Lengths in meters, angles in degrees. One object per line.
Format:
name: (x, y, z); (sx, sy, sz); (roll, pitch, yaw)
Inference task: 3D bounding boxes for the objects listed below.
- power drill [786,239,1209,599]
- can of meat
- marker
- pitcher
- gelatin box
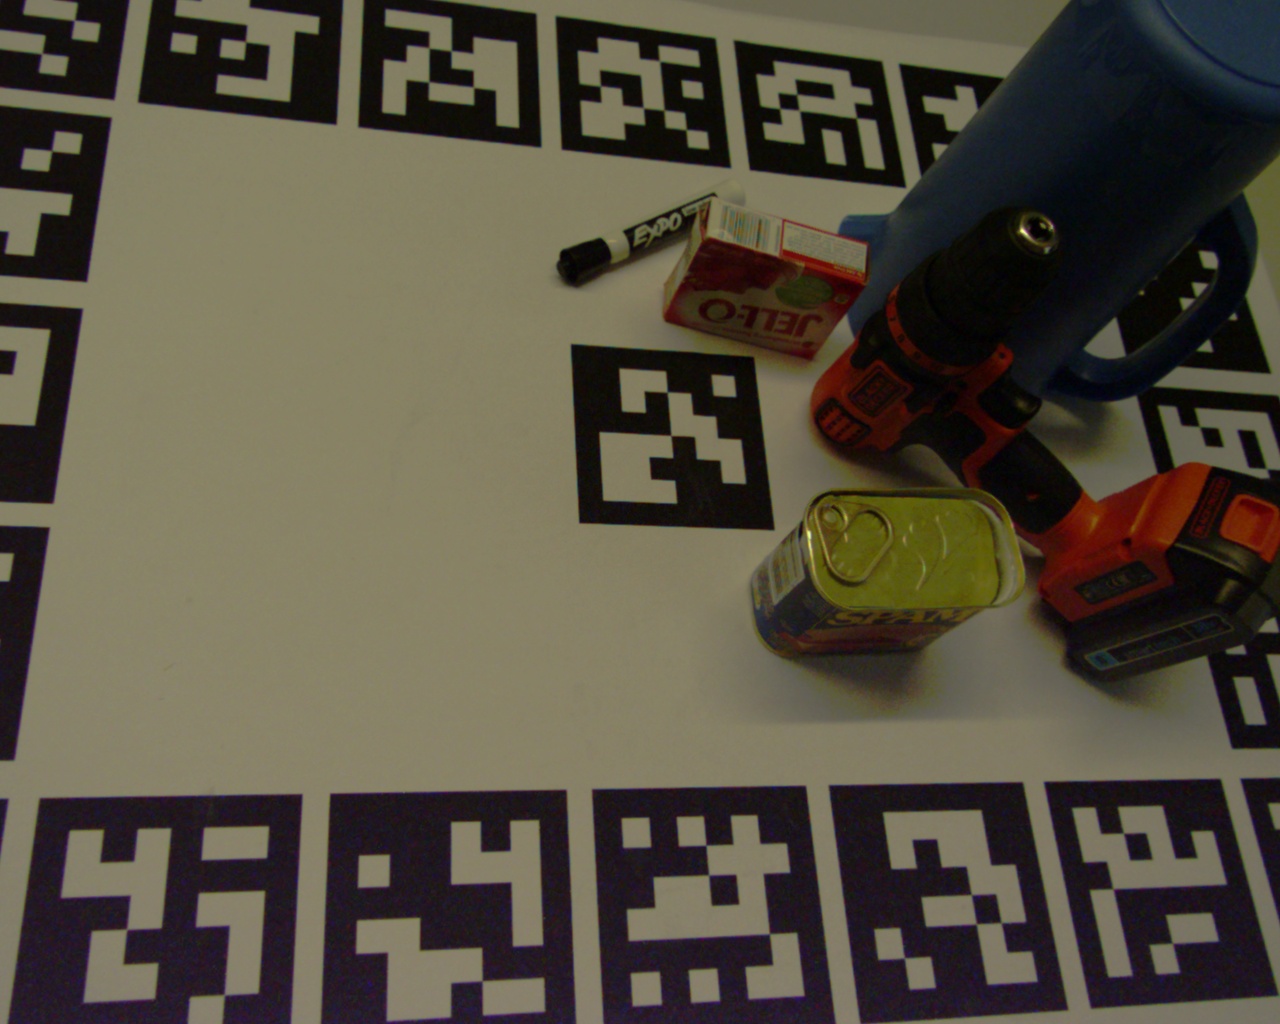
power drill: (0.179, -0.040, 0.566); (0.186, 0.185, 0.057); (35, 66, -5)
can of meat: (0.108, 0.036, 0.567); (0.101, 0.084, 0.058); (0, 67, -15)
marker: (0.001, -0.155, 0.657); (0.120, 0.020, 0.020); (-27, 78, -21)
pitcher: (0.222, -0.144, 0.594); (0.189, 0.242, 0.133); (28, 67, 5)
gelatin box: (0.064, -0.113, 0.628); (0.089, 0.073, 0.030); (12, 70, -12)
